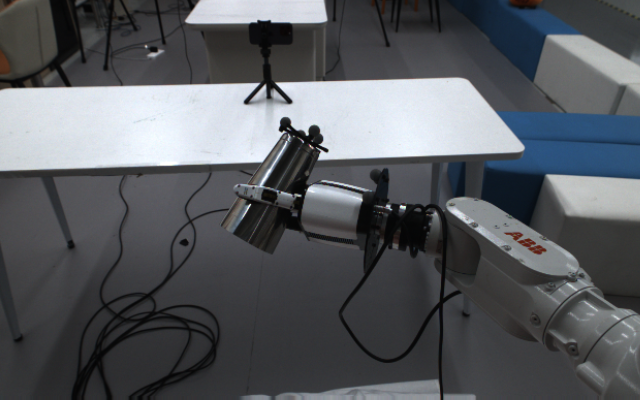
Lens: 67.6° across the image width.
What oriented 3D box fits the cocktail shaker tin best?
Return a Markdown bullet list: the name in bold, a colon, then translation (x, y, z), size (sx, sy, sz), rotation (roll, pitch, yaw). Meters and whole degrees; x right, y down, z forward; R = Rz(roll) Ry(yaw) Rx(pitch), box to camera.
- **cocktail shaker tin**: translation (-0.071, -0.017, 0.741), size (0.093, 0.093, 0.170), rotation (26, 83, 31)
